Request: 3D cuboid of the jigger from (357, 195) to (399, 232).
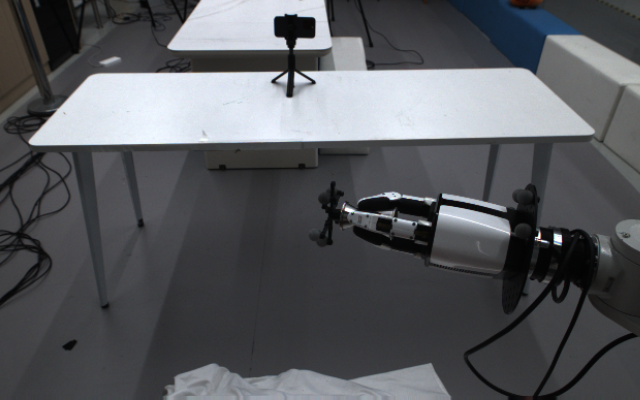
[{"bbox_3d":[0.070,0.021,0.628,0.071,0.043,0.043,8,35,16],"label":"jigger"}]
